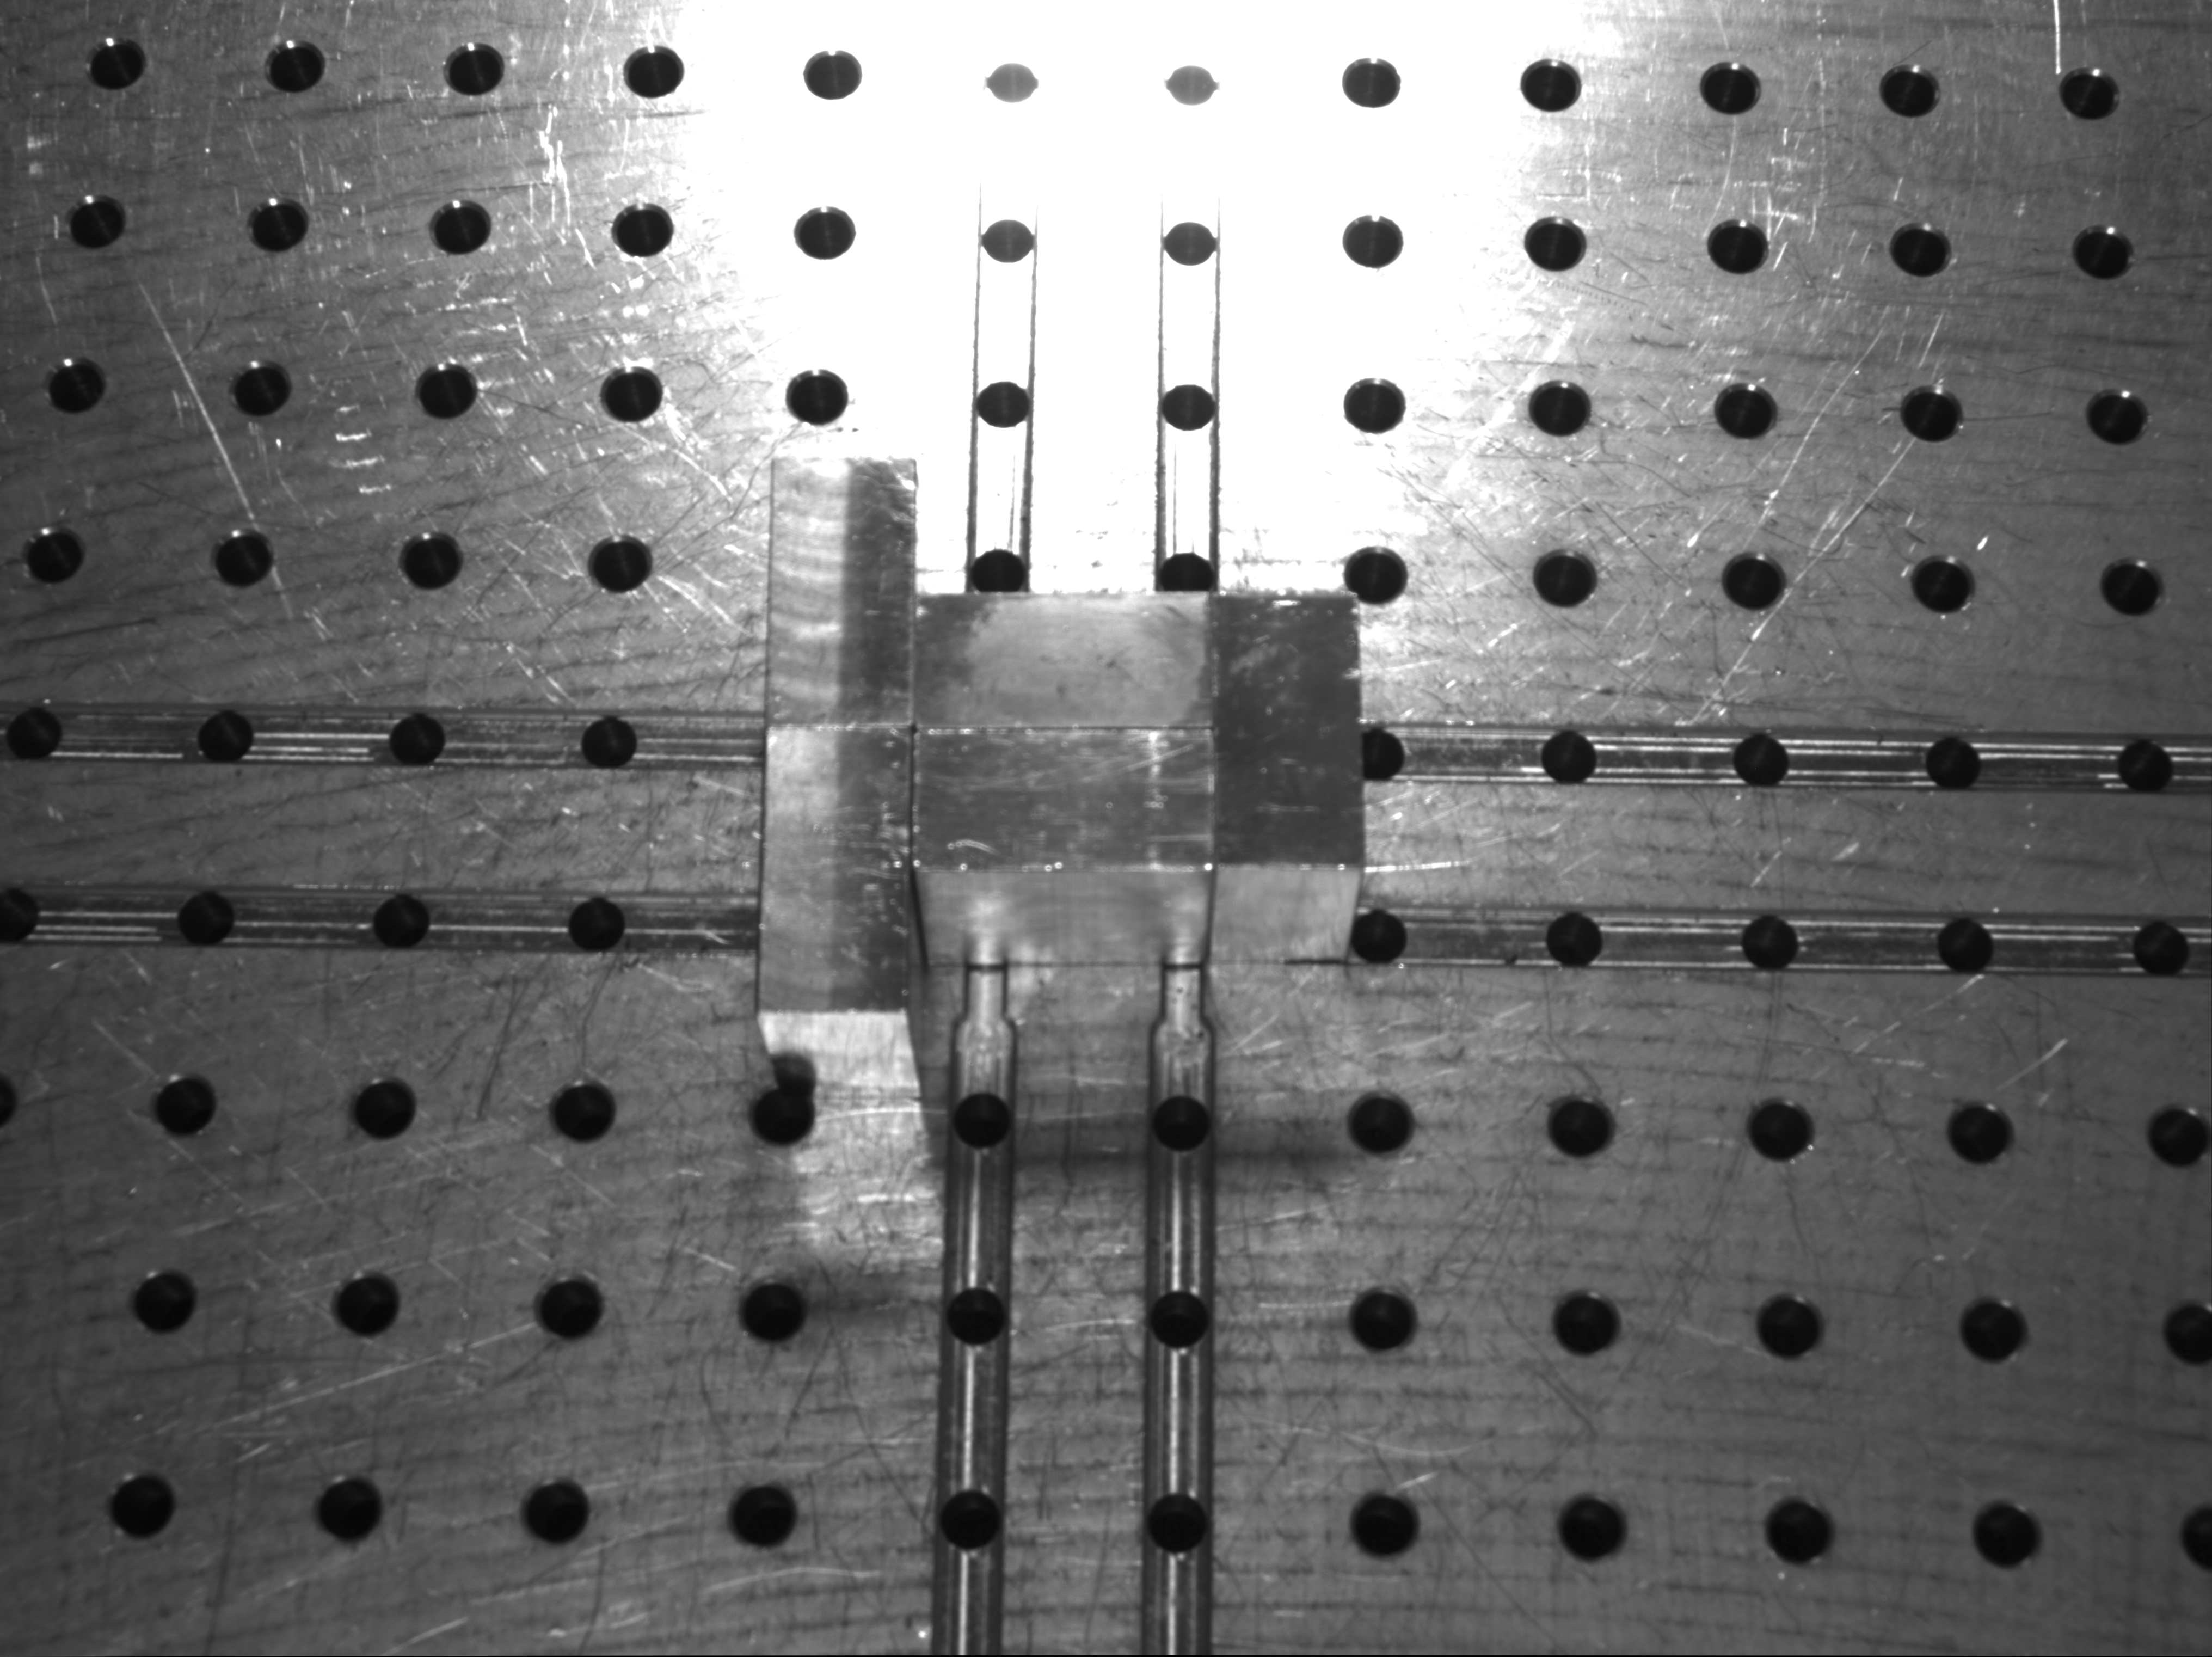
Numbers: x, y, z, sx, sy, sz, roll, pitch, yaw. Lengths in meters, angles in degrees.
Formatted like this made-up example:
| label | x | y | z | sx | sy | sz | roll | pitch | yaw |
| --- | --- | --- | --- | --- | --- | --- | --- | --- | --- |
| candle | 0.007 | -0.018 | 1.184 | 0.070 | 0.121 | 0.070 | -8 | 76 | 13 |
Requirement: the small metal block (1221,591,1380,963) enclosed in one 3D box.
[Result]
| label | x | y | z | sx | sy | sz | roll | pitch | yaw |
| --- | --- | --- | --- | --- | --- | --- | --- | --- | --- |
| small metal block | 0.033 | -0.008 | 0.636 | 0.025 | 0.050 | 0.050 | 0 | 70 | 0 |

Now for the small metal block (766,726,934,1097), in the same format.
| label | x | y | z | sx | sy | sz | roll | pitch | yaw |
| --- | --- | --- | --- | --- | --- | --- | --- | --- | --- |
| small metal block | -0.043 | 0.015 | 0.628 | 0.025 | 0.050 | 0.050 | 0 | 70 | 0 |

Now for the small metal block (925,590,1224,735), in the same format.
| label | x | y | z | sx | sy | sz | roll | pitch | yaw |
| --- | --- | --- | --- | --- | --- | --- | --- | --- | --- |
| small metal block | -0.005 | -0.020 | 0.641 | 0.050 | 0.050 | 0.025 | 0 | 70 | 0 |

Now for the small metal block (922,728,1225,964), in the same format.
| label | x | y | z | sx | sy | sz | roll | pitch | yaw |
| --- | --- | --- | --- | --- | --- | --- | --- | --- | --- |
| small metal block | -0.005 | 0.004 | 0.632 | 0.050 | 0.050 | 0.025 | 0 | 70 | 0 |

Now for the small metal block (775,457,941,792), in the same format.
| label | x | y | z | sx | sy | sz | roll | pitch | yaw |
| --- | --- | --- | --- | --- | --- | --- | --- | --- | --- |
| small metal block | -0.043 | -0.032 | 0.645 | 0.025 | 0.050 | 0.050 | 0 | 70 | 0 |
